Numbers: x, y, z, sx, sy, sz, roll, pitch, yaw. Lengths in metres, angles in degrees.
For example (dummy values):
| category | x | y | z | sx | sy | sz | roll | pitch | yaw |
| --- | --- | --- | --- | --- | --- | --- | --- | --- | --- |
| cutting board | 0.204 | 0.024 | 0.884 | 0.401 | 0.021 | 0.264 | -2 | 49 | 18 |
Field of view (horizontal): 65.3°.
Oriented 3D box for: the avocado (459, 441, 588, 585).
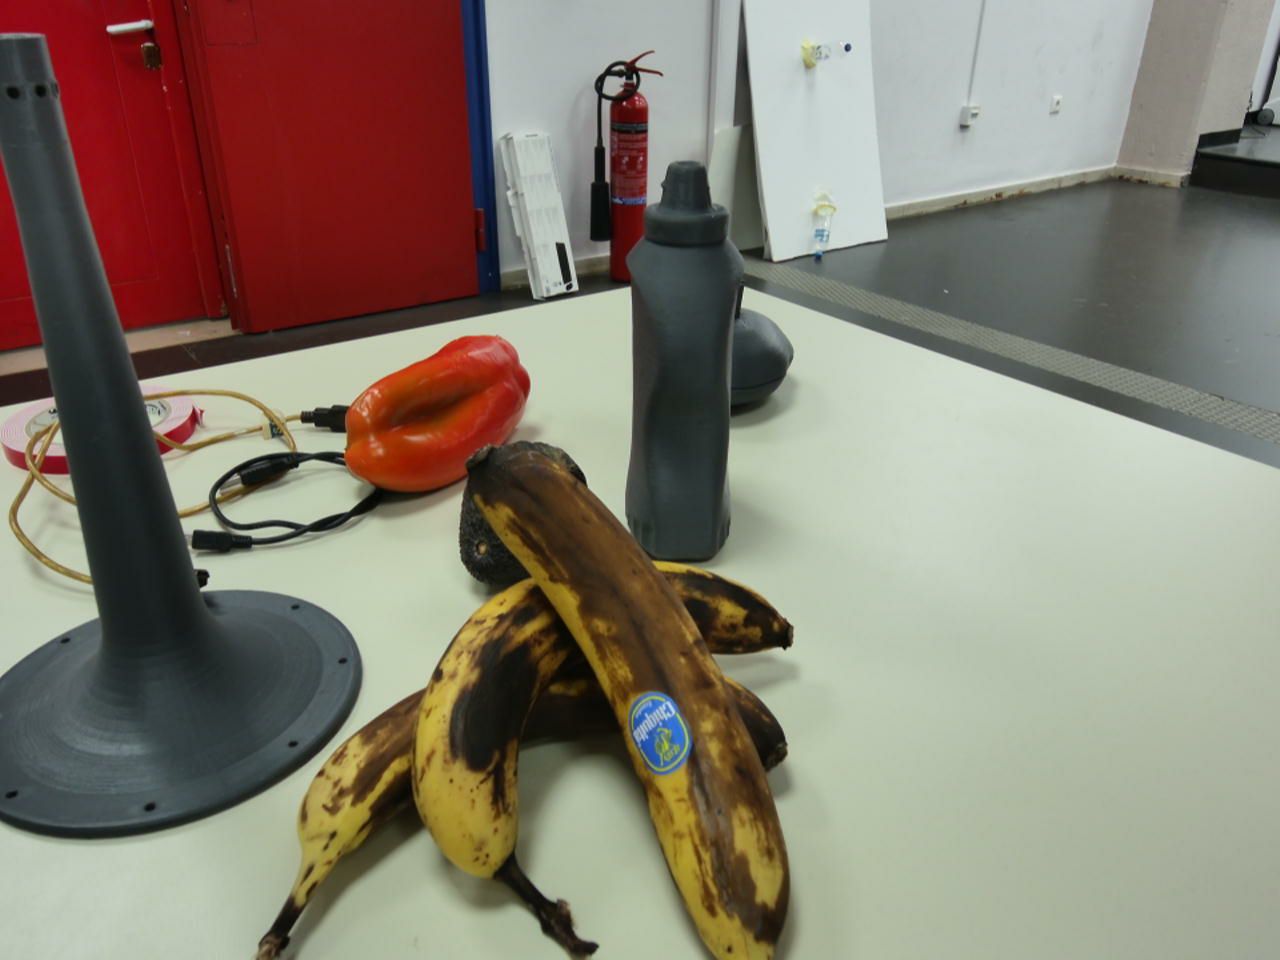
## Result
| category | x | y | z | sx | sy | sz | roll | pitch | yaw |
| --- | --- | --- | --- | --- | --- | --- | --- | --- | --- |
| avocado | -0.062 | 0.015 | 0.509 | 0.062 | 0.062 | 0.092 | 13 | 29 | 26 |
